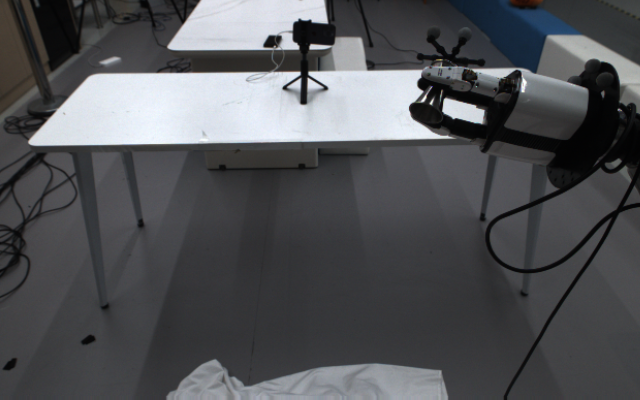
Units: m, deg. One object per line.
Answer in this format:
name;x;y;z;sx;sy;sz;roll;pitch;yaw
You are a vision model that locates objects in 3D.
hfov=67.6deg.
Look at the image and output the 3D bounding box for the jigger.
jigger;0.144;-0.138;0.603;0.043;0.043;0.071;19;72;23
